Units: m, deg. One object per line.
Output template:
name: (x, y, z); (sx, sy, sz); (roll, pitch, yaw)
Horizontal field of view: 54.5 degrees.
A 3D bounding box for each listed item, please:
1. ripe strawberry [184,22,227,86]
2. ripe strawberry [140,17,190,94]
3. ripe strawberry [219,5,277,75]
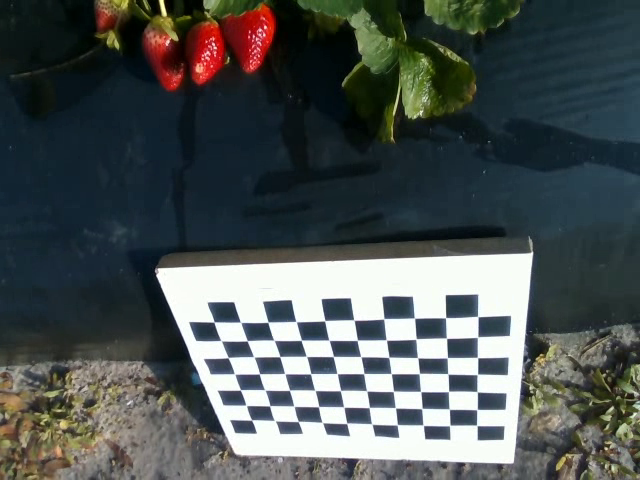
ripe strawberry: (-0.071, -0.113, 0.373); (0.030, 0.039, 0.037); (7, -25, 8)
ripe strawberry: (-0.098, -0.116, 0.385); (0.031, 0.046, 0.023); (-2, 23, 14)
ripe strawberry: (-0.043, -0.117, 0.369); (0.035, 0.041, 0.033); (-5, -14, 17)
